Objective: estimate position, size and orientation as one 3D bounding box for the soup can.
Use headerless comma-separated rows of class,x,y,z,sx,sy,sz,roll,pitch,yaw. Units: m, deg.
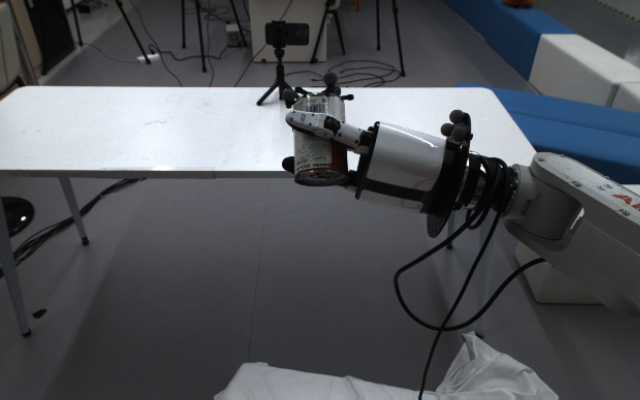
soup can,0.000,-0.075,0.607,0.067,0.067,0.101,-1,76,-4
